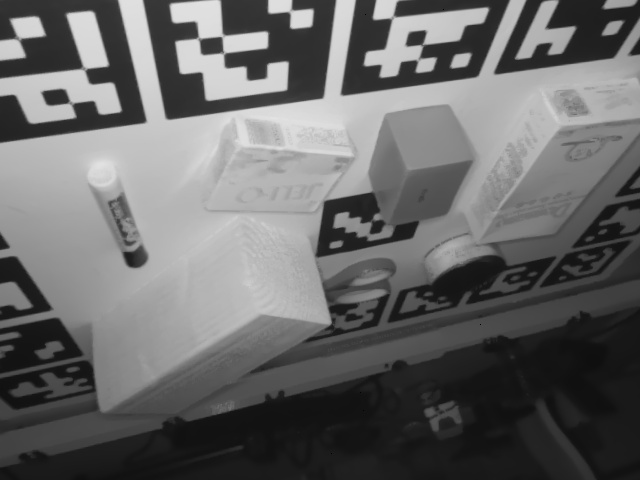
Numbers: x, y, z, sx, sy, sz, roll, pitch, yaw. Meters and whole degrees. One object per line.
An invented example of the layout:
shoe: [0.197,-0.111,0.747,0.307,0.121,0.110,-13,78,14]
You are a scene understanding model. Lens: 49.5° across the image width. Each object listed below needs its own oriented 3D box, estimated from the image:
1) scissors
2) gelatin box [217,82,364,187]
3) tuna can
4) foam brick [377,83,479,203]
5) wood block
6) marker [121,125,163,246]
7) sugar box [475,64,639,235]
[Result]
scissors: [0.002,0.051,0.717,0.205,0.016,0.086,-7,145,-21]
gelatin box: [-0.023,-0.074,0.512,0.090,0.030,0.072,2,141,-28]
tuna can: [0.173,0.027,0.744,0.086,0.034,0.085,-13,145,-8]
foam brick: [0.081,-0.075,0.536,0.053,0.051,0.077,-9,144,-14]
wood block: [-0.097,0.061,0.620,0.203,0.091,0.091,-36,143,25]
marker: [-0.132,-0.036,0.521,0.020,0.020,0.119,-9,143,-14]
sugar box: [0.211,-0.075,0.615,0.094,0.045,0.174,-7,145,-16]
